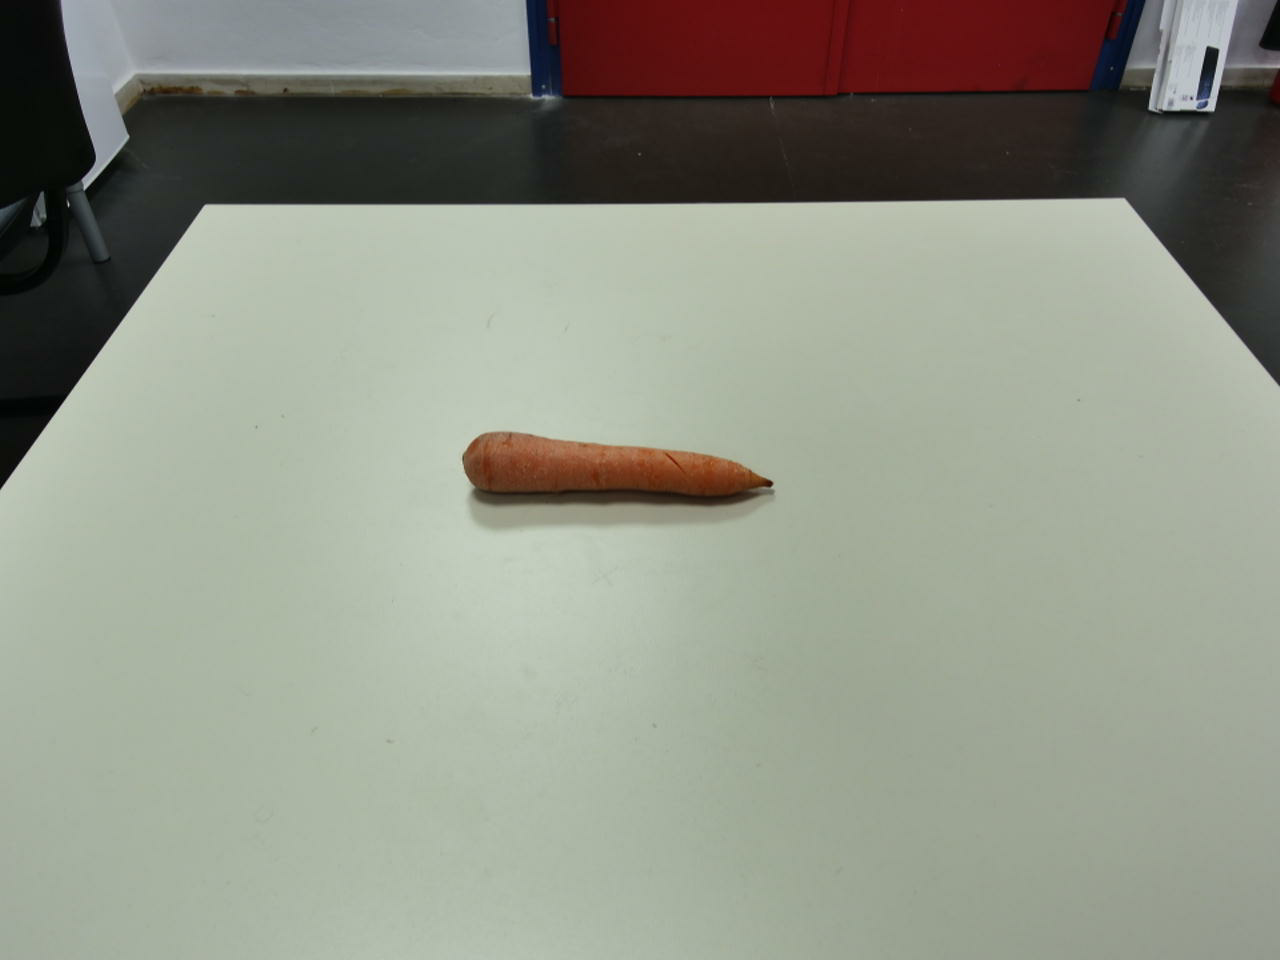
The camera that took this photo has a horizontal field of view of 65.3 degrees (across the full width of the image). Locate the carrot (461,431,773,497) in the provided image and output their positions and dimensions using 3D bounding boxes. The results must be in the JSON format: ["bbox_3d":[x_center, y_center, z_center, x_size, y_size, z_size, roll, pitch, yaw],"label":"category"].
[{"bbox_3d":[-0.012,-0.010,0.628,0.196,0.041,0.039,0,39,0],"label":"carrot"}]
